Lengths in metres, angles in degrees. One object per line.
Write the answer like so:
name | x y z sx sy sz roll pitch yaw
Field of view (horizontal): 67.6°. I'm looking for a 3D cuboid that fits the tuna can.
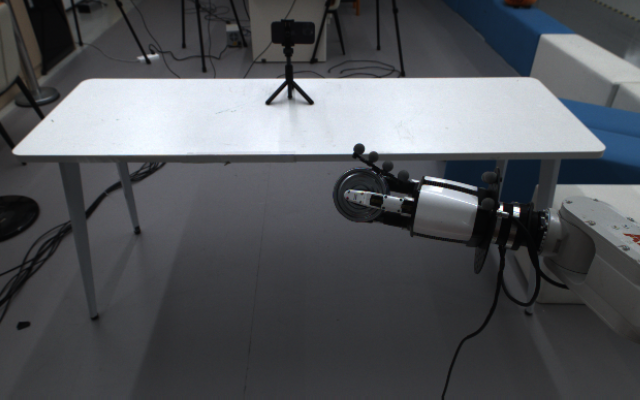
tuna can | 0.067 -0.002 0.746 0.085 0.085 0.034 13 4 15
